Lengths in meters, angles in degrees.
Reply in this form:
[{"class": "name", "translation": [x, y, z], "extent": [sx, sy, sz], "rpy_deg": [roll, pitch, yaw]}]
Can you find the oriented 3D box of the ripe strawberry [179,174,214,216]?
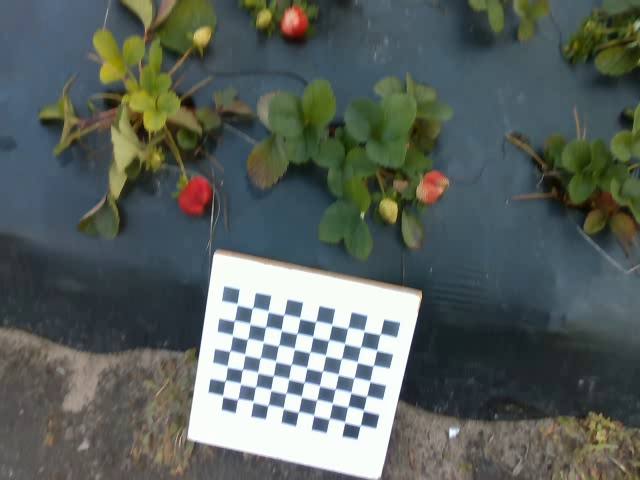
[{"class": "ripe strawberry", "translation": [-0.048, -0.014, 0.179], "extent": [0.013, 0.017, 0.015], "rpy_deg": [22, 15, -45]}]
